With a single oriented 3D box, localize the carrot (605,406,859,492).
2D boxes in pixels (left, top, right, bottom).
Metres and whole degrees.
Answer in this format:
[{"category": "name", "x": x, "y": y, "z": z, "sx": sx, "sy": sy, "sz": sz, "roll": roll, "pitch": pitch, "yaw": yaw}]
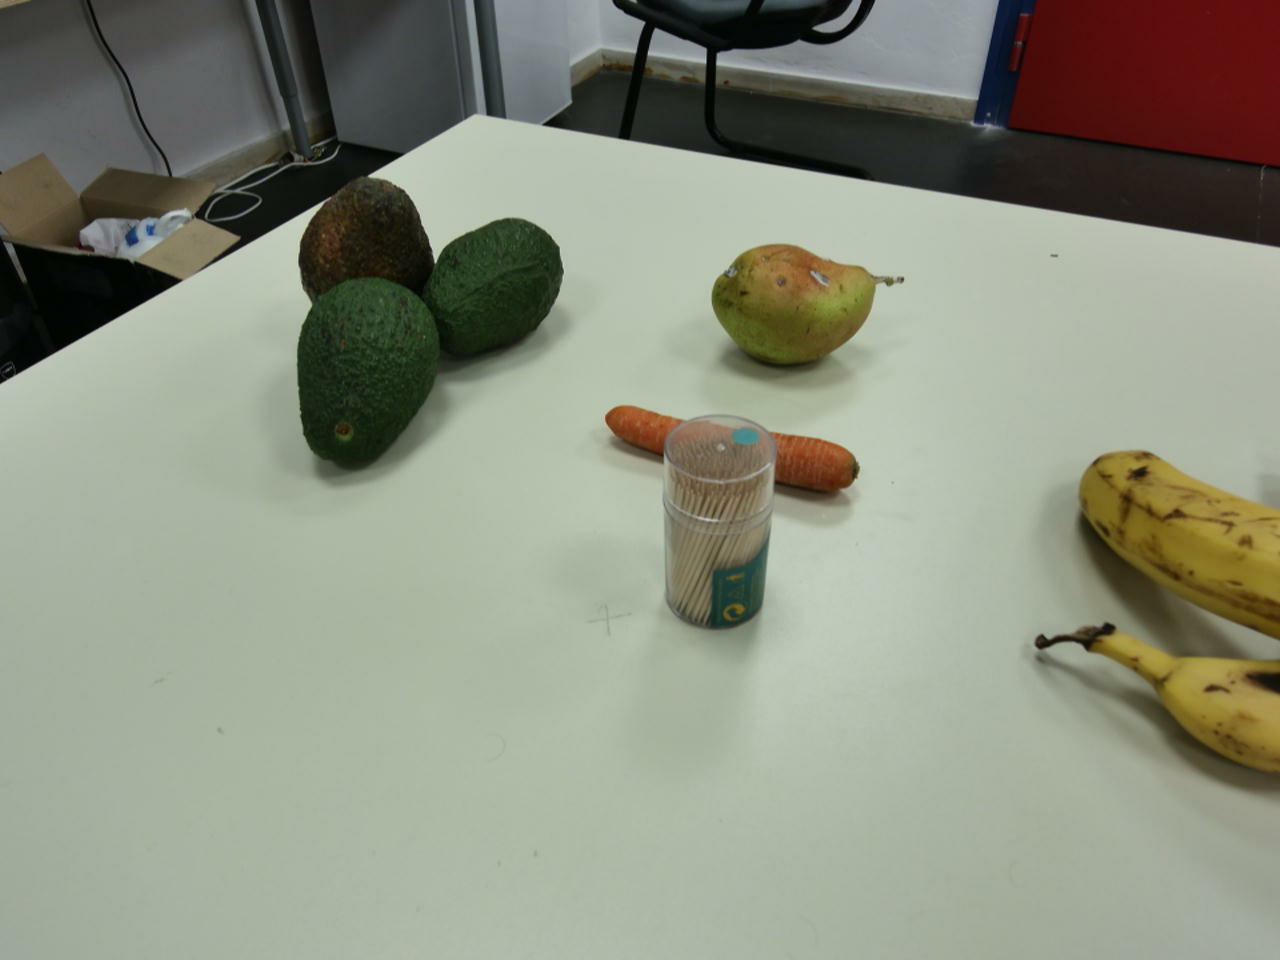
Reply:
[{"category": "carrot", "x": 0.040, "y": -0.017, "z": 0.460, "sx": 0.122, "sy": 0.023, "sz": 0.024, "roll": 15, "pitch": 40, "yaw": 19}]
